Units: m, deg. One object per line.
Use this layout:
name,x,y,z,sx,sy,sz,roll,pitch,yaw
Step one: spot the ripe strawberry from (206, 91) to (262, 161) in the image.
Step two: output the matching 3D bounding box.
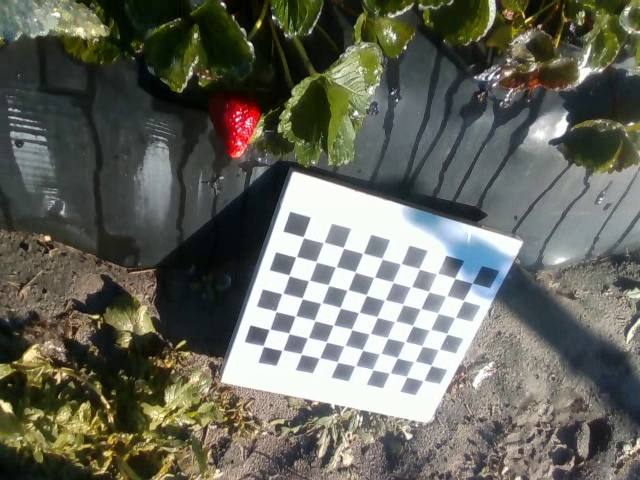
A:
ripe strawberry,-0.065,-0.088,0.428,0.041,0.052,0.047,9,-15,-14
